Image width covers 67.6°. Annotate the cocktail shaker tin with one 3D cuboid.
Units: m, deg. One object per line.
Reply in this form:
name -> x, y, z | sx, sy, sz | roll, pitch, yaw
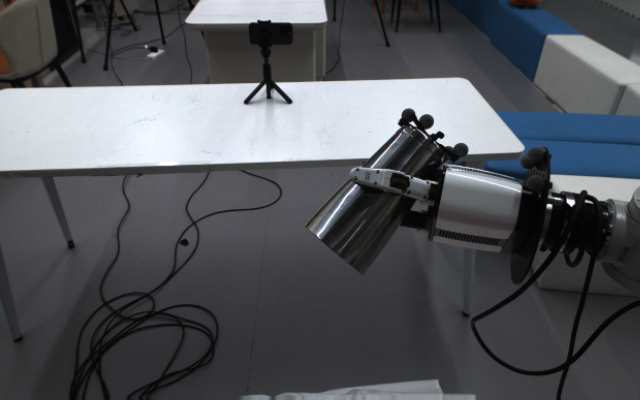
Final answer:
cocktail shaker tin -> 0.072, -0.008, 0.582 | 0.170, 0.093, 0.093 | -48, 49, -3
